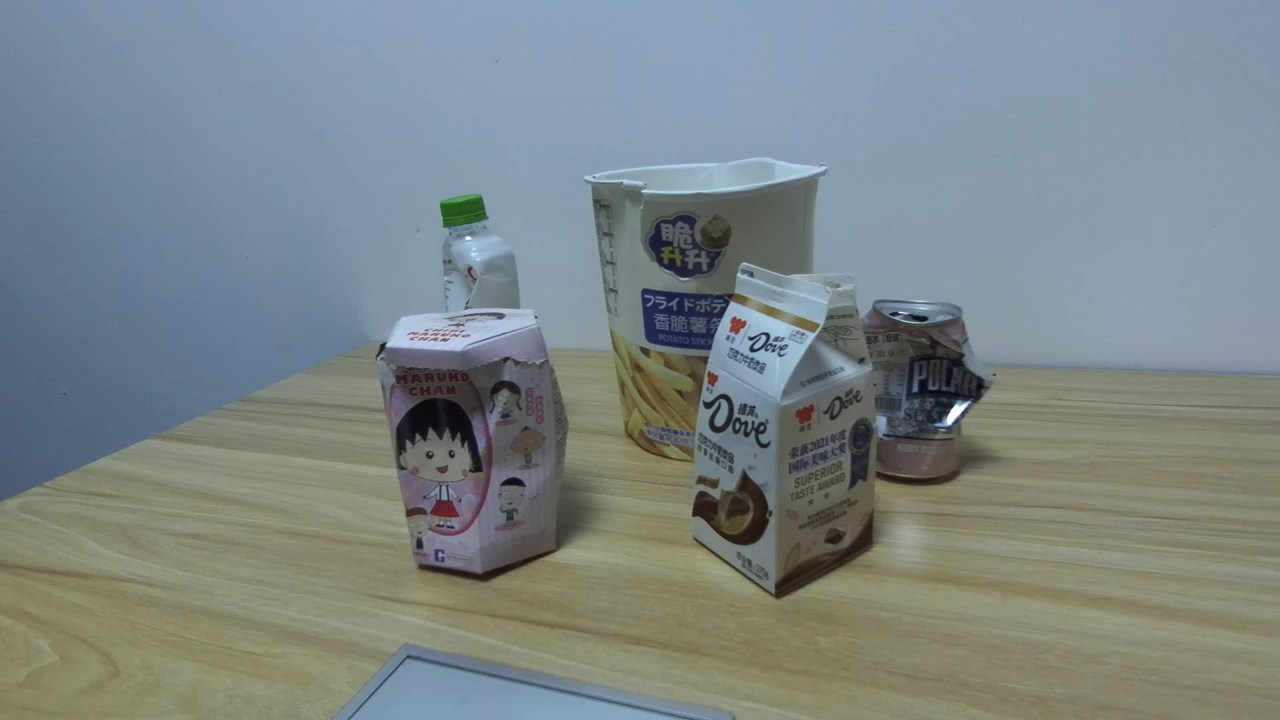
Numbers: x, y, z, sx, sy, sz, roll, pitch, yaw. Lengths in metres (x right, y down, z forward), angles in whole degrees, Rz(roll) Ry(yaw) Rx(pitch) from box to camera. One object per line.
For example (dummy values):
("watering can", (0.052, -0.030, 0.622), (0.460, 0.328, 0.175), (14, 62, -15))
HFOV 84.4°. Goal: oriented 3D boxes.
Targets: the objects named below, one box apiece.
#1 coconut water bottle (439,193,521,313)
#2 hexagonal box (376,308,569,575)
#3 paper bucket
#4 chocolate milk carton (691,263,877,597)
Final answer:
("coconut water bottle", (-0.116, -0.026, 0.528), (0.069, 0.187, 0.069), (-5, 13, 1))
("hexagonal box", (-0.094, 0.043, 0.406), (0.090, 0.134, 0.091), (-11, 19, -27))
("paper bucket", (0.053, -0.043, 0.522), (0.146, 0.197, 0.202), (-12, 20, -16))
("chocolate milk carton", (0.073, 0.028, 0.370), (0.073, 0.155, 0.084), (-16, 22, -29))
